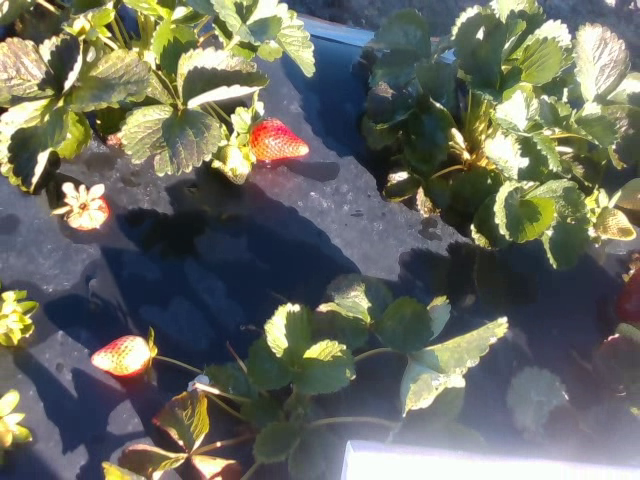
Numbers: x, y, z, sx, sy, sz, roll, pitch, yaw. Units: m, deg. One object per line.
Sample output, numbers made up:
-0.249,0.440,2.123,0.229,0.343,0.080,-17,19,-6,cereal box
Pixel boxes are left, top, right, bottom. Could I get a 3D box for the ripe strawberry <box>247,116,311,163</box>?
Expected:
-0.038,-0.090,0.576,0.064,0.050,0.052,16,4,3,ripe strawberry
